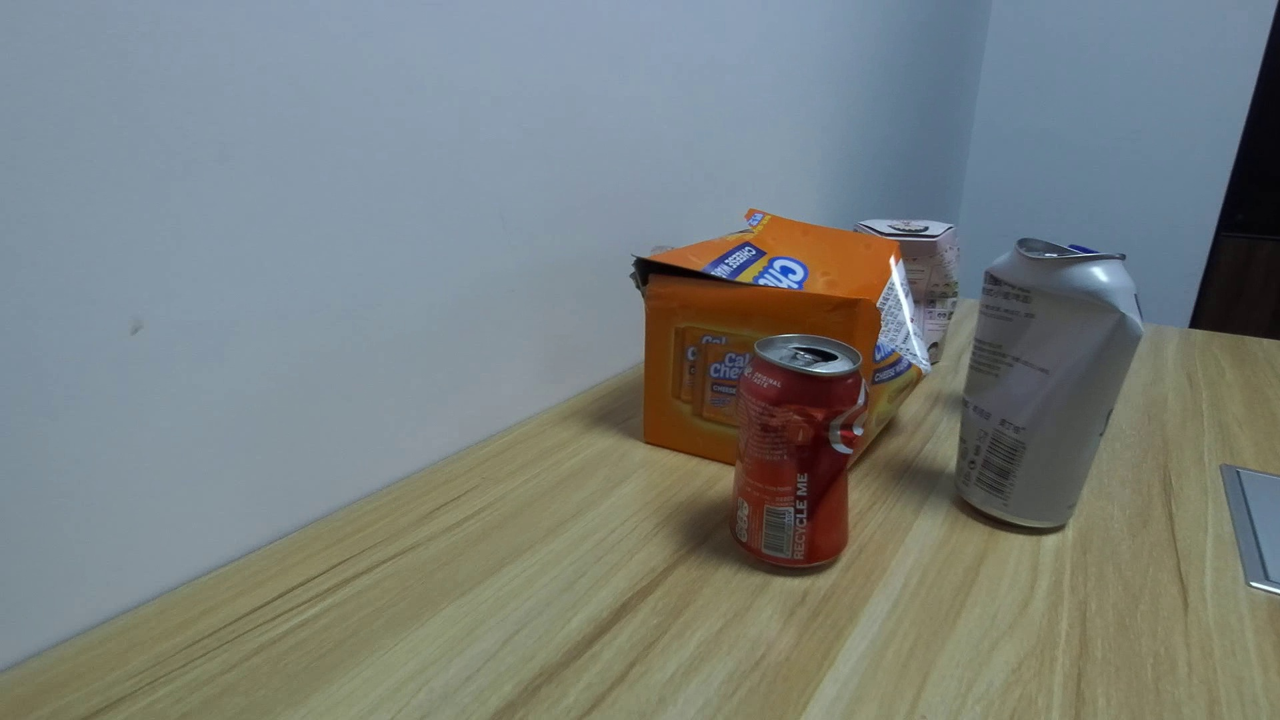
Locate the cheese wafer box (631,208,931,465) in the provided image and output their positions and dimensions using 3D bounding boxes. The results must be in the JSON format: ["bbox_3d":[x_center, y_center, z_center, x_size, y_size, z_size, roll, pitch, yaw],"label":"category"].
[{"bbox_3d":[0.124,-0.024,0.542,0.190,0.145,0.219,10,21,26],"label":"cheese wafer box"}]

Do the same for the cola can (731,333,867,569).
[{"bbox_3d":[0.083,0.047,0.372,0.066,0.117,0.066,-3,20,-11],"label":"cola can"}]

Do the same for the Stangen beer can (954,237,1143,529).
[{"bbox_3d":[0.232,0.016,0.409,0.077,0.162,0.066,10,21,23],"label":"Stangen beer can"}]

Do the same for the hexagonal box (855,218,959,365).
[{"bbox_3d":[0.244,-0.060,0.666,0.090,0.134,0.090,-18,28,-35],"label":"hexagonal box"}]
